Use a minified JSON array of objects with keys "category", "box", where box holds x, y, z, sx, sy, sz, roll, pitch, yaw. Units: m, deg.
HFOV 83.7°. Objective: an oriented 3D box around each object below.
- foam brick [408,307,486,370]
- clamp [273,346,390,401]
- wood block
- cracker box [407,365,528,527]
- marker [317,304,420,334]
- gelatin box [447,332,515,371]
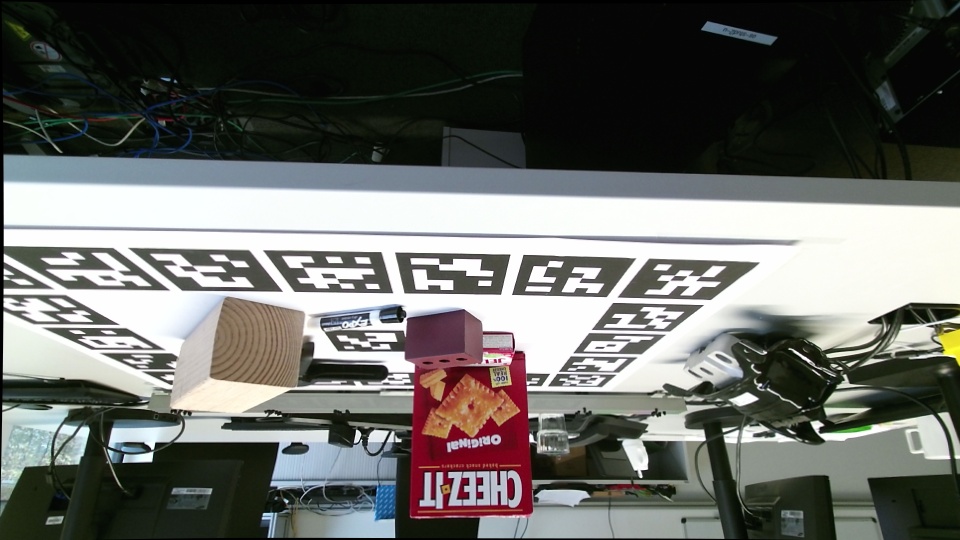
[{"category":"foam brick","box":[-0.037,0.083,0.630,0.078,0.051,0.053,-12,149,19]},{"category":"clamp","box":[-0.260,0.163,0.786,0.203,0.036,0.166,-16,148,24]},{"category":"wood block","box":[-0.291,0.113,0.641,0.090,0.090,0.206,16,150,-35]},{"category":"cracker box","box":[-0.017,0.243,0.753,0.165,0.212,0.072,0,153,1]},{"category":"marker","box":[-0.126,0.055,0.605,0.121,0.019,0.020,-10,149,15]},{"category":"gelatin box","box":[-0.001,0.110,0.711,0.090,0.030,0.073,0,150,-2]}]
